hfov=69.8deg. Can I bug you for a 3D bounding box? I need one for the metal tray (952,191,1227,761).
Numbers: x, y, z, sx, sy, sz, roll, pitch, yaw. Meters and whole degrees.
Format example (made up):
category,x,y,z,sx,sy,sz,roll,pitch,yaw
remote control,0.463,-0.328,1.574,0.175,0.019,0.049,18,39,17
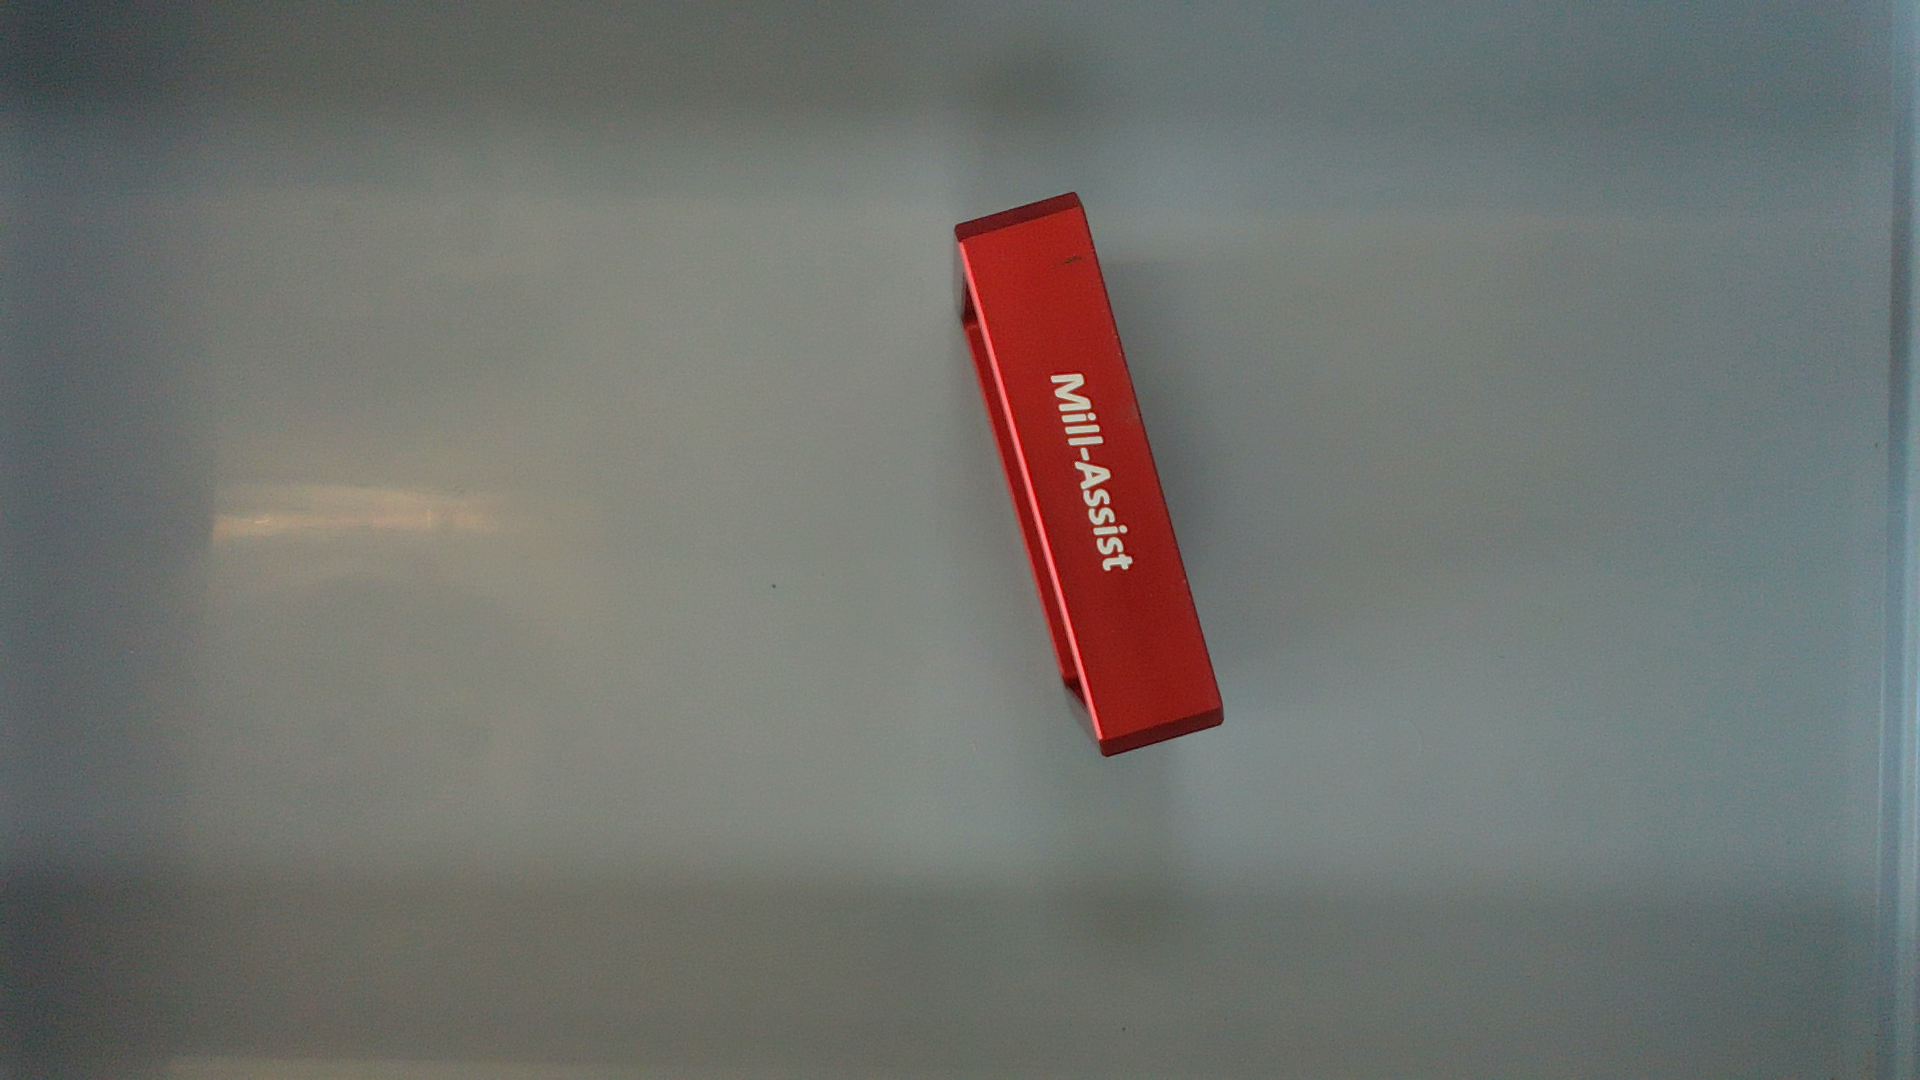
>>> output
category,x,y,z,sx,sy,sz,roll,pitch,yaw
metal tray,0.030,-0.015,0.360,0.030,0.090,0.130,-16,90,-1
